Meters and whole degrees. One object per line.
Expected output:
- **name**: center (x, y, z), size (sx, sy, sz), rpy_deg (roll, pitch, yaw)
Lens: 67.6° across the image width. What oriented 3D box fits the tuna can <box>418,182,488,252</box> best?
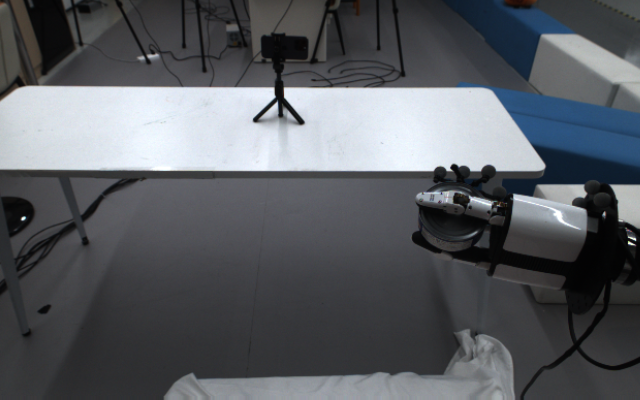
- **tuna can**: center (0.168, 0.016, 0.612), size (0.085, 0.034, 0.085), rpy_deg (-4, 55, 6)
